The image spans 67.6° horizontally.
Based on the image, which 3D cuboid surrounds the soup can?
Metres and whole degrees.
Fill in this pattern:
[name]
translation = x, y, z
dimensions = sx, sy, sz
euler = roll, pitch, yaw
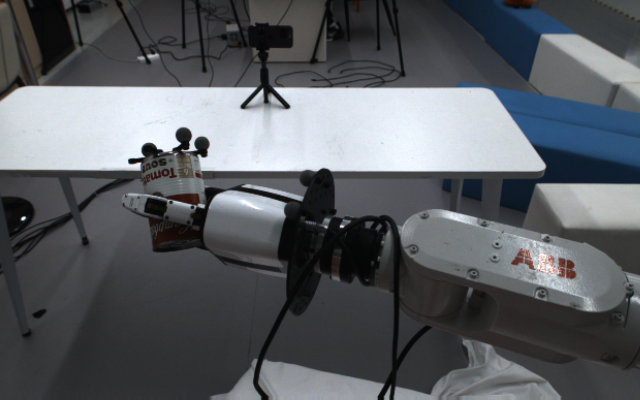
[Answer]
[soup can]
translation = -0.162, 0.004, 0.553
dimensions = 0.067, 0.067, 0.101
euler = -10, 80, -17
